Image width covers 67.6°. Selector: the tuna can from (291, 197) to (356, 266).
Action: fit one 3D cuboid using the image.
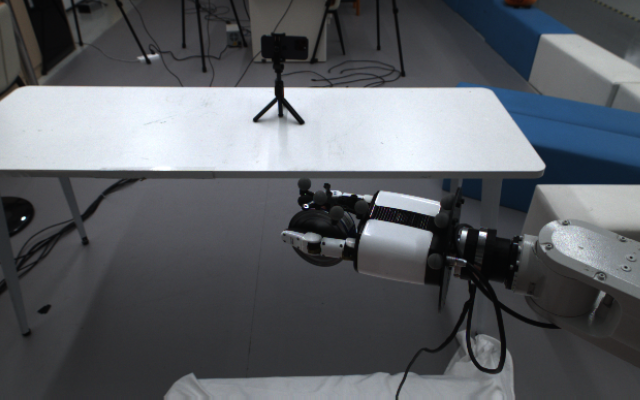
[{"bbox_3d":[0.006,0.042,0.638,0.085,0.085,0.034,16,29,19],"label":"tuna can"}]
